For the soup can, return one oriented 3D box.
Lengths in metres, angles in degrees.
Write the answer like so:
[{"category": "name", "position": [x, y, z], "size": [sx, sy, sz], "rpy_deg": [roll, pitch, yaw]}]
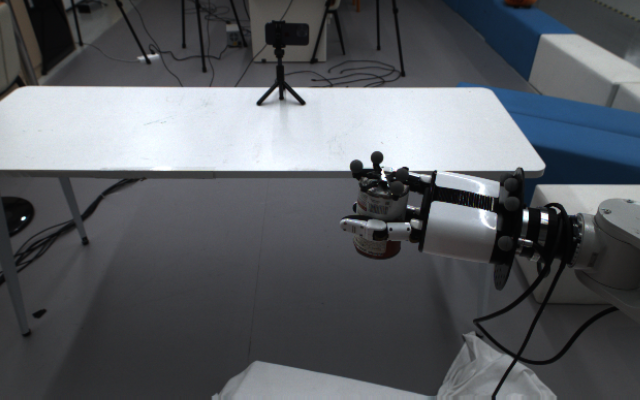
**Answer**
[{"category": "soup can", "position": [0.083, 0.020, 0.655], "size": [0.067, 0.101, 0.067], "rpy_deg": [2, 32, -1]}]
